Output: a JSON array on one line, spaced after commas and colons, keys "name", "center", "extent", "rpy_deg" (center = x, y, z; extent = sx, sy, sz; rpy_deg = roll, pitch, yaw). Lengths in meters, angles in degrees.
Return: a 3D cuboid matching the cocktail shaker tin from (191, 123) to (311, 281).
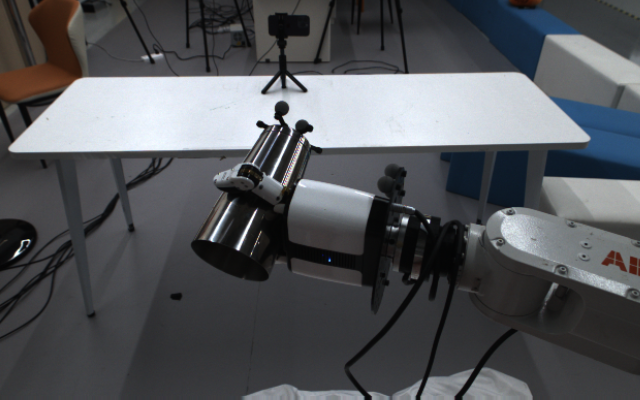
[{"name": "cocktail shaker tin", "center": [-0.069, -0.001, 0.561], "extent": [0.093, 0.093, 0.170], "rpy_deg": [14, 61, 16]}]
